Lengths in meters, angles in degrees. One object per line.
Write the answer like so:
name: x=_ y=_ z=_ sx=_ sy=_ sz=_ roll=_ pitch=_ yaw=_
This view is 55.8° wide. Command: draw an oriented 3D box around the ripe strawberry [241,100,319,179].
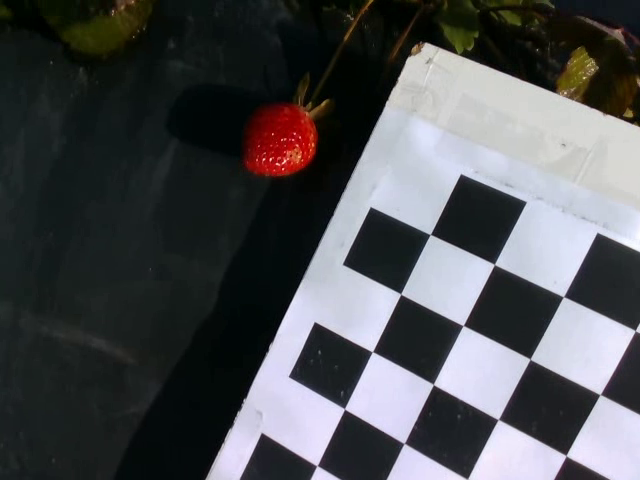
ripe strawberry: x=-0.015 y=-0.031 z=0.200 sx=0.034 sy=0.033 sz=0.038 roll=25 pitch=43 yaw=13
